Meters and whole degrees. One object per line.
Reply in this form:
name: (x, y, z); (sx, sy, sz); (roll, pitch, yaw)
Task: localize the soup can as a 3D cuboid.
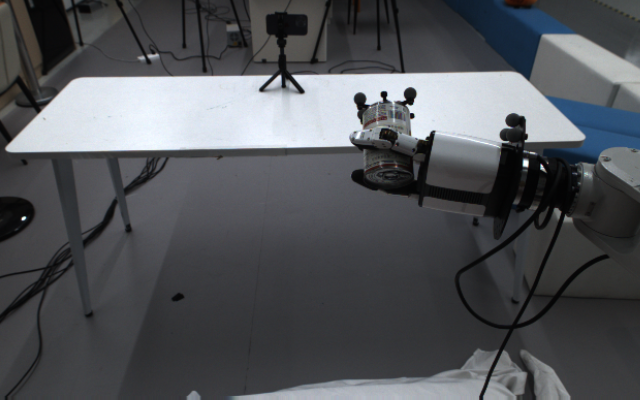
soup can: (0.092, -0.075, 0.657); (0.067, 0.067, 0.101); (2, 68, -1)
